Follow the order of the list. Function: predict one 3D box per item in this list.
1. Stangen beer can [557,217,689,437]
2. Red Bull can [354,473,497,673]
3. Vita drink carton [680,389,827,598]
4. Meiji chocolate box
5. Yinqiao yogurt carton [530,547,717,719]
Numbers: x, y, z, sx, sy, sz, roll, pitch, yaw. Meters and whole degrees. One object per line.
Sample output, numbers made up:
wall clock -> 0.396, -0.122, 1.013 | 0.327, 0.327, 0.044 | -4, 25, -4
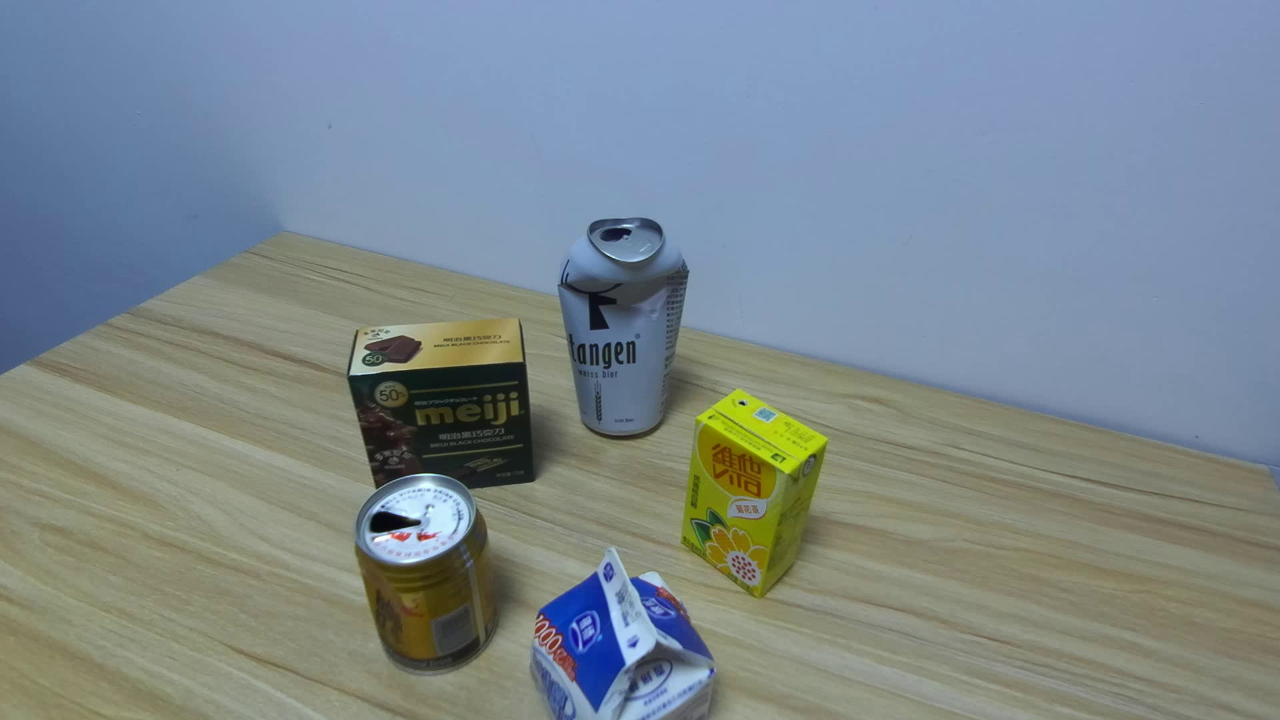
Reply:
Stangen beer can -> -0.012, -0.019, 0.513 | 0.065, 0.162, 0.077 | 29, 44, 33
Red Bull can -> -0.114, 0.114, 0.379 | 0.069, 0.092, 0.069 | 2, 35, -1
Vita drink carton -> 0.066, 0.081, 0.424 | 0.066, 0.109, 0.044 | 30, 44, 32
Meiji chocolate box -> -0.130, 0.034, 0.481 | 0.110, 0.109, 0.056 | -5, 37, -11
Yinqiao yogurt carton -> -0.009, 0.142, 0.348 | 0.077, 0.093, 0.083 | -16, 39, -23
